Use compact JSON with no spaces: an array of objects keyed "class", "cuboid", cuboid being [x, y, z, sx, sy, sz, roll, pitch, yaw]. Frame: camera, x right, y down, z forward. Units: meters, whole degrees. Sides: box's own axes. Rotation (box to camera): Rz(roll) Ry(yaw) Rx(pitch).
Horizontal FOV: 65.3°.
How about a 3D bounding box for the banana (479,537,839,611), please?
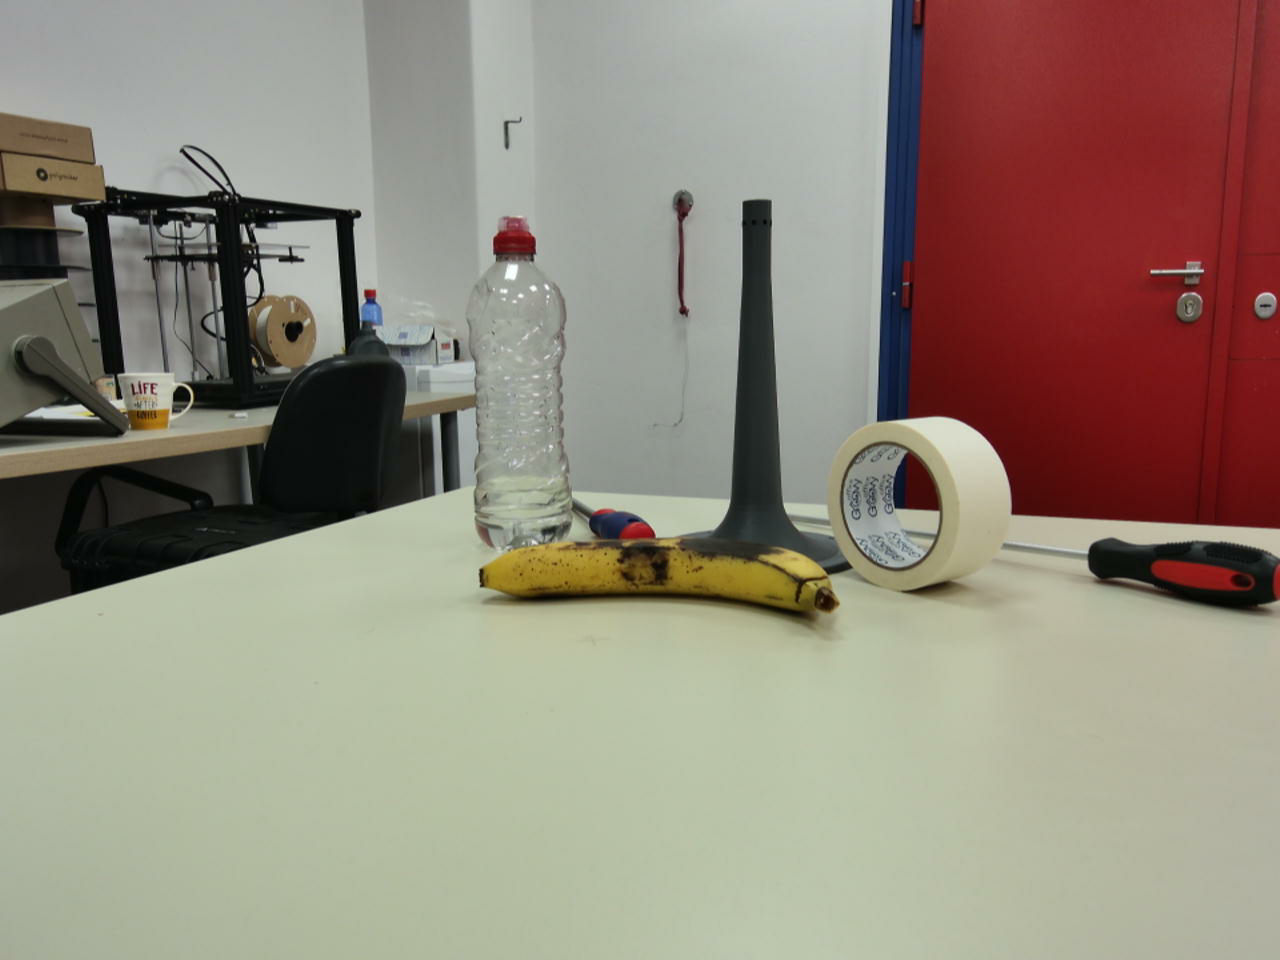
[{"class":"banana","cuboid":[0.017,0.056,0.601,0.222,0.037,0.084,3,7,23]}]
